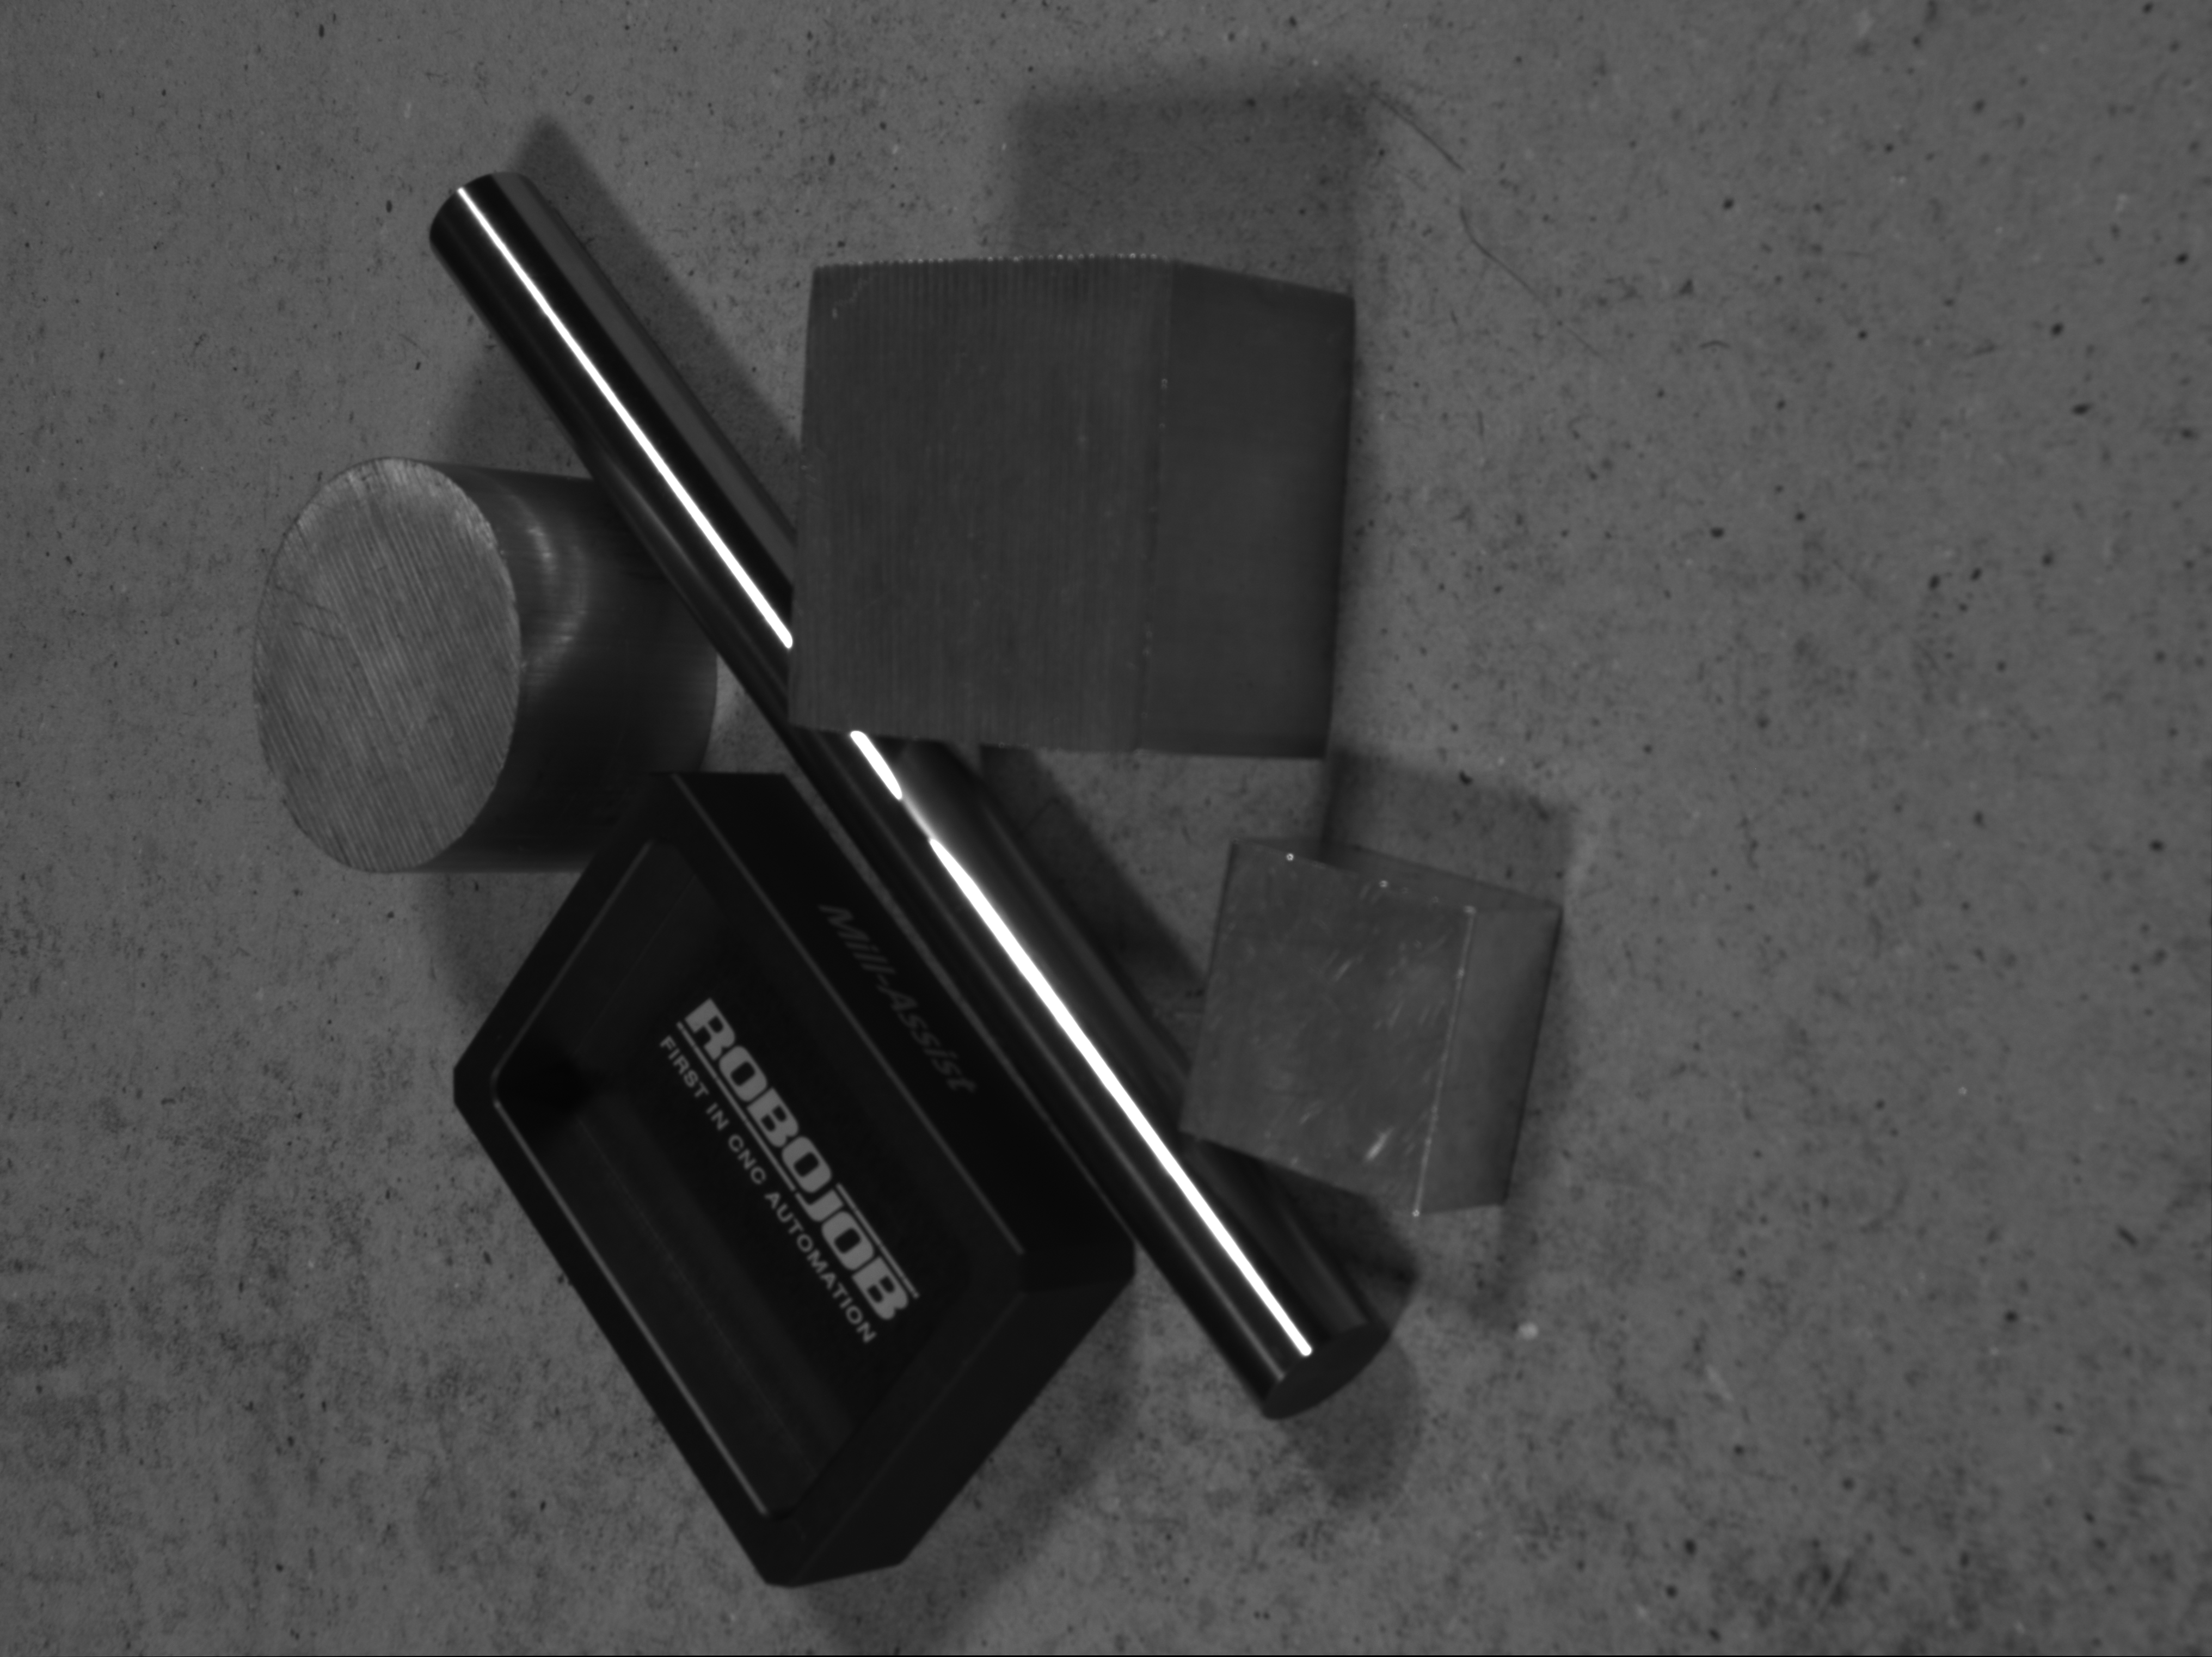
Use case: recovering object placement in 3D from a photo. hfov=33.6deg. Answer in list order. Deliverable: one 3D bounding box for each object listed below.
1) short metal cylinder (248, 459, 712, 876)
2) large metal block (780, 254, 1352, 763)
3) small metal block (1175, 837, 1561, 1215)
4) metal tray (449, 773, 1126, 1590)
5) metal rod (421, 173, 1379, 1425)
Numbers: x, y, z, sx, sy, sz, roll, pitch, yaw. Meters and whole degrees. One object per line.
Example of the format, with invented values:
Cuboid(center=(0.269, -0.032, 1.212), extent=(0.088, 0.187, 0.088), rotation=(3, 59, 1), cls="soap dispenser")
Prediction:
Cuboid(center=(-0.124, -0.031, 0.722), extent=(0.080, 0.050, 0.080), rotation=(0, 90, 39), cls="short metal cylinder")
Cuboid(center=(-0.007, -0.054, 0.627), extent=(0.080, 0.050, 0.080), rotation=(5, 93, 39), cls="large metal block")
Cuboid(center=(0.043, 0.031, 0.602), extent=(0.050, 0.025, 0.050), rotation=(16, 100, 38), cls="small metal block")
Cuboid(center=(-0.063, 0.064, 0.685), extent=(0.130, 0.030, 0.090), rotation=(51, 120, 27), cls="metal tray")
Cuboid(center=(-0.046, -0.016, 0.674), extent=(0.025, 0.025, 0.299), rotation=(-52, 60, 27), cls="metal rod")
